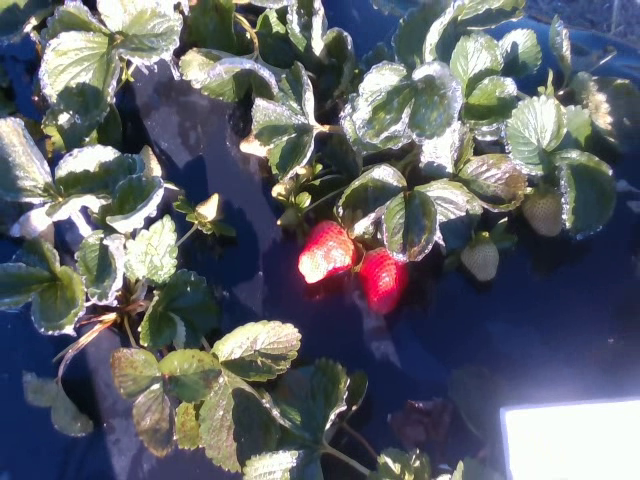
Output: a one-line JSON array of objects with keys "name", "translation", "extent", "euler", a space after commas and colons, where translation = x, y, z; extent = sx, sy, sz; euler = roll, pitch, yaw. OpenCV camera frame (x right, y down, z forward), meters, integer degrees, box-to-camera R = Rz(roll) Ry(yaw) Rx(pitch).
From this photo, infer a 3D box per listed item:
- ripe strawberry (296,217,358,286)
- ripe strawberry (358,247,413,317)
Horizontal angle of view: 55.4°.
[{"name": "ripe strawberry", "translation": [0.006, 0.016, 0.542], "extent": [0.052, 0.070, 0.040], "euler": [42, -8, 2]}, {"name": "ripe strawberry", "translation": [0.054, 0.033, 0.525], "extent": [0.043, 0.059, 0.040], "euler": [-5, -12, 6]}]
